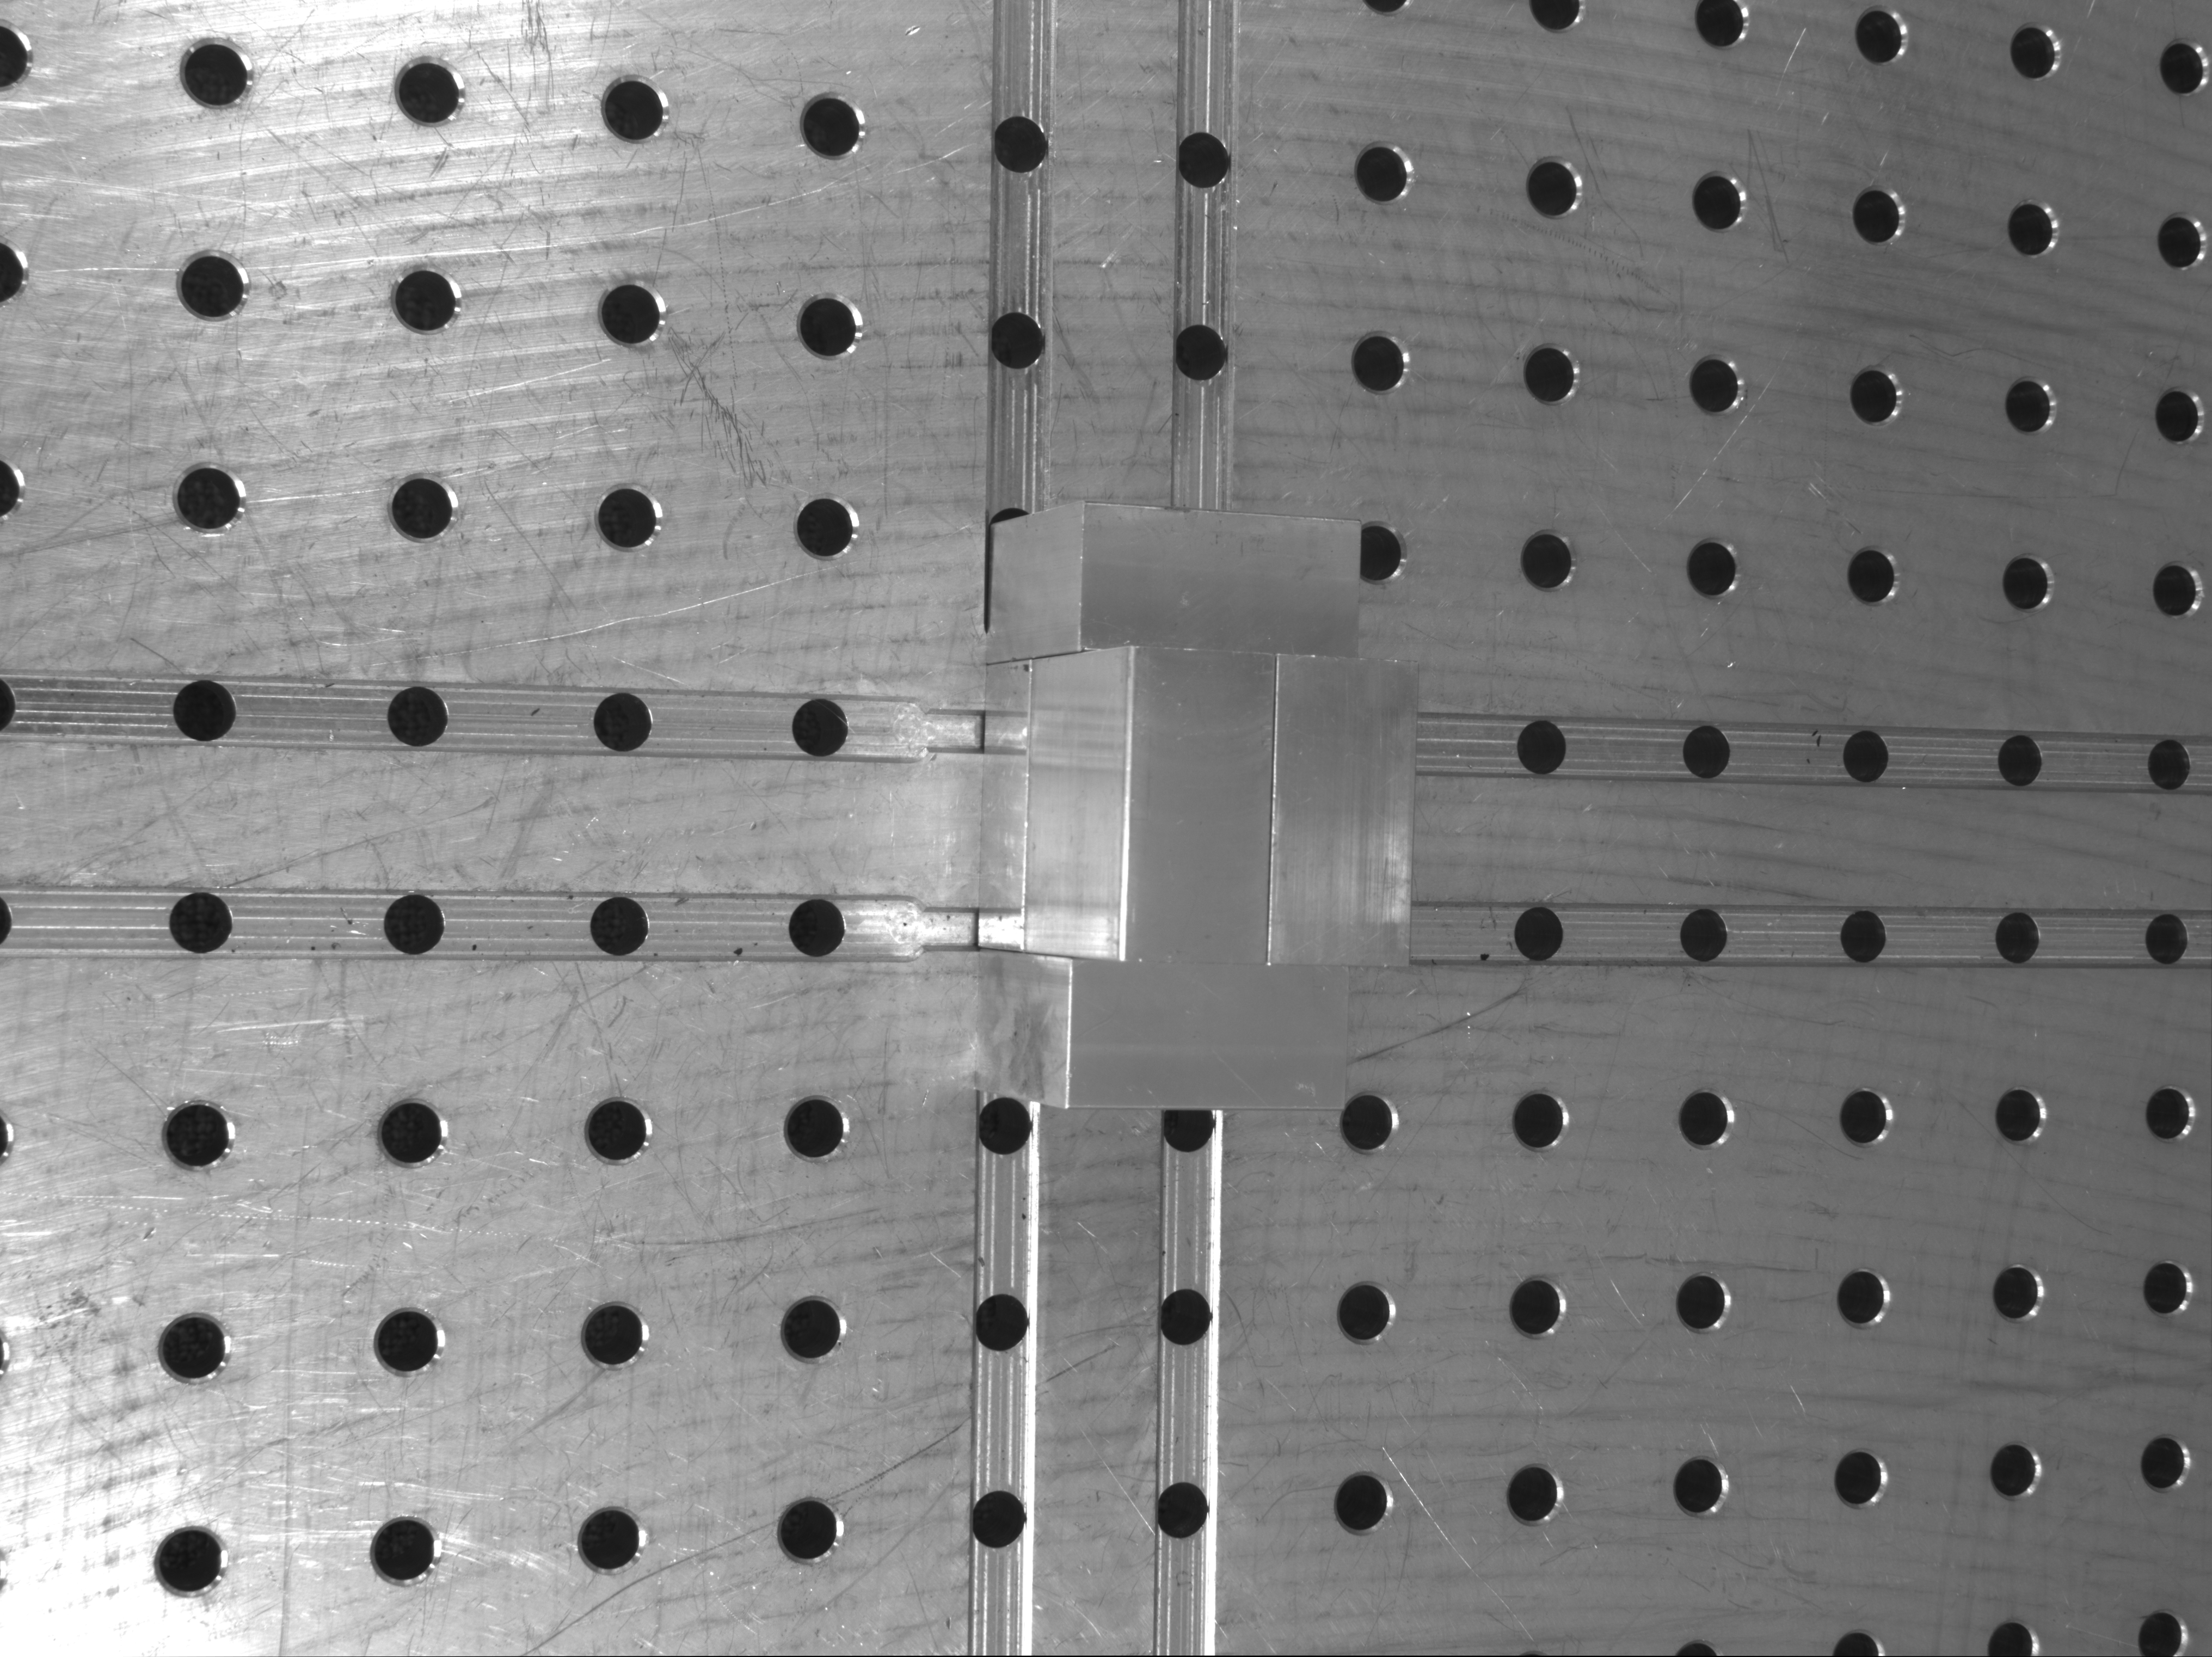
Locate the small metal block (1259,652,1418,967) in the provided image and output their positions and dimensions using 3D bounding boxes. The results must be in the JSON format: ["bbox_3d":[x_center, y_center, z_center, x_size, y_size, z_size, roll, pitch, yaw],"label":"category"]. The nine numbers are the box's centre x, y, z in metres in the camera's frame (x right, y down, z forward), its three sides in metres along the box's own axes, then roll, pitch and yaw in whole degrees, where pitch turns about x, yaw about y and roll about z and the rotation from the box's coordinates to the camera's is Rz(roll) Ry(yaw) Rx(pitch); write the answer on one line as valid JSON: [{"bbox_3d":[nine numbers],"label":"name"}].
[{"bbox_3d":[0.030,-0.003,0.617,0.025,0.050,0.050,2,89,-18],"label":"small metal block"}]

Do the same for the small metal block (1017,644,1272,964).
[{"bbox_3d":[0.006,-0.004,0.608,0.025,0.050,0.050,2,89,-20],"label":"small metal block"}]

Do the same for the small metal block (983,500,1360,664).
[{"bbox_3d":[0.011,-0.041,0.636,0.050,0.050,0.025,2,89,-20],"label":"small metal block"}]

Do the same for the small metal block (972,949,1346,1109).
[{"bbox_3d":[0.008,0.034,0.635,0.050,0.050,0.025,2,89,-20],"label":"small metal block"}]

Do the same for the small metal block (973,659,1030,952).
[{"bbox_3d":[0.005,-0.003,0.647,0.050,0.025,0.050,2,89,-18],"label":"small metal block"}]
